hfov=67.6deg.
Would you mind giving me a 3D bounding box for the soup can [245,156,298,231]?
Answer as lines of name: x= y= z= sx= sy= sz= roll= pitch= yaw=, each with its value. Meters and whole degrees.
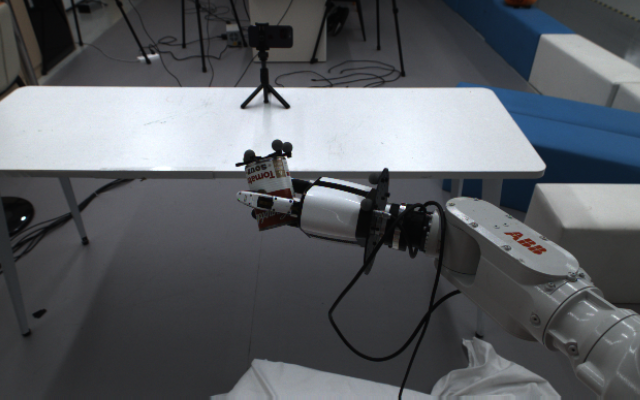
soup can: x=-0.072 y=-0.008 z=0.744 sx=0.067 sy=0.101 sz=0.067 roll=-14 pitch=-2 yaw=-1
